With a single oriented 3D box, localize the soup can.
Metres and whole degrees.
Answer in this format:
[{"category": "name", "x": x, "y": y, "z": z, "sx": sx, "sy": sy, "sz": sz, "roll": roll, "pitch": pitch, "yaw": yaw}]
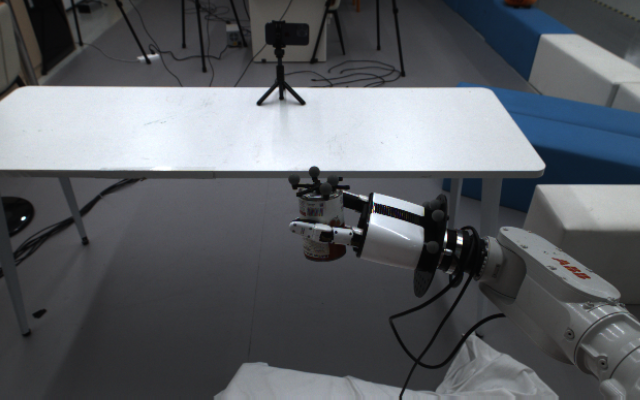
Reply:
[{"category": "soup can", "x": 0.005, "y": 0.033, "z": 0.725, "sx": 0.067, "sy": 0.101, "sz": 0.067, "roll": -4, "pitch": 21, "yaw": 2}]
